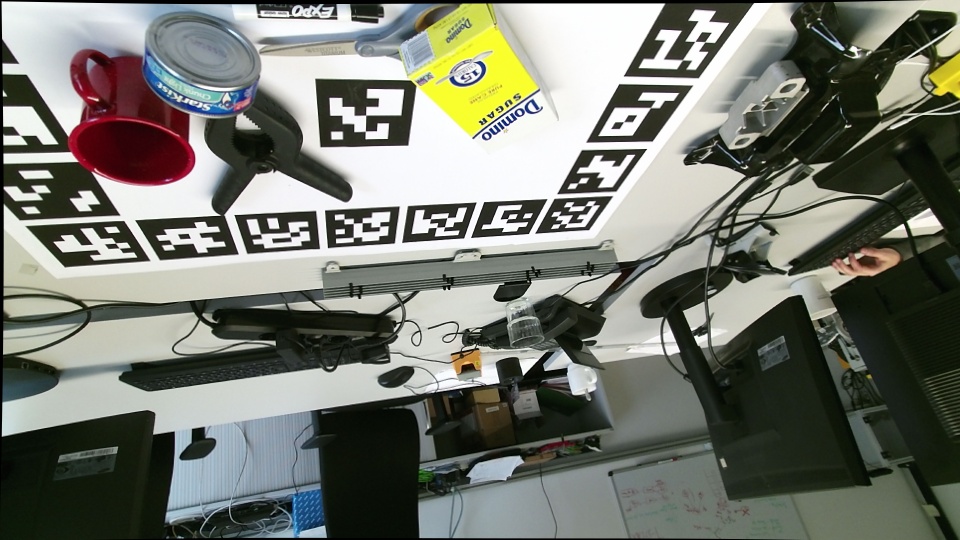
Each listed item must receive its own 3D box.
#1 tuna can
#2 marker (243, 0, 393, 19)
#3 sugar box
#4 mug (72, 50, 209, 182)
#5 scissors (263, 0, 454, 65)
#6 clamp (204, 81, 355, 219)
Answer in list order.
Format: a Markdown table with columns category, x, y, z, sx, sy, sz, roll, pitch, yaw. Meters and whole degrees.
| category | x | y | z | sx | sy | sz | roll | pitch | yaw |
| --- | --- | --- | --- | --- | --- | --- | --- | --- | --- |
| tuna can | -0.233 | -0.172 | 0.444 | 0.086 | 0.085 | 0.034 | 4 | 148 | -30 |
| marker | -0.136 | -0.226 | 0.457 | 0.121 | 0.019 | 0.020 | -7 | 151 | -13 |
| sugar box | 0.003 | -0.192 | 0.544 | 0.093 | 0.045 | 0.177 | -23 | 157 | 17 |
| mug | -0.302 | -0.144 | 0.475 | 0.093 | 0.081 | 0.117 | -18 | 156 | 9 |
| scissors | -0.099 | -0.207 | 0.503 | 0.203 | 0.016 | 0.088 | -9 | 156 | -5 |
| clamp | -0.238 | -0.132 | 0.590 | 0.166 | 0.036 | 0.203 | -10 | 151 | -6 |
